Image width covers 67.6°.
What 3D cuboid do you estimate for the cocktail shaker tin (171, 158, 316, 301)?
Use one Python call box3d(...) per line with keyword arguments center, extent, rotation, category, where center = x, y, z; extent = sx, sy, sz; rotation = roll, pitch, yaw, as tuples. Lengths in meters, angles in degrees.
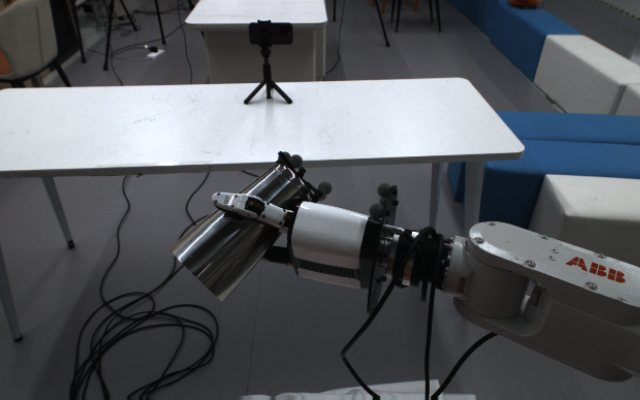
box3d(center=(-0.092, 0.030, 0.609), extent=(0.170, 0.093, 0.093), rotation=(-43, 50, -14), category="cocktail shaker tin")
